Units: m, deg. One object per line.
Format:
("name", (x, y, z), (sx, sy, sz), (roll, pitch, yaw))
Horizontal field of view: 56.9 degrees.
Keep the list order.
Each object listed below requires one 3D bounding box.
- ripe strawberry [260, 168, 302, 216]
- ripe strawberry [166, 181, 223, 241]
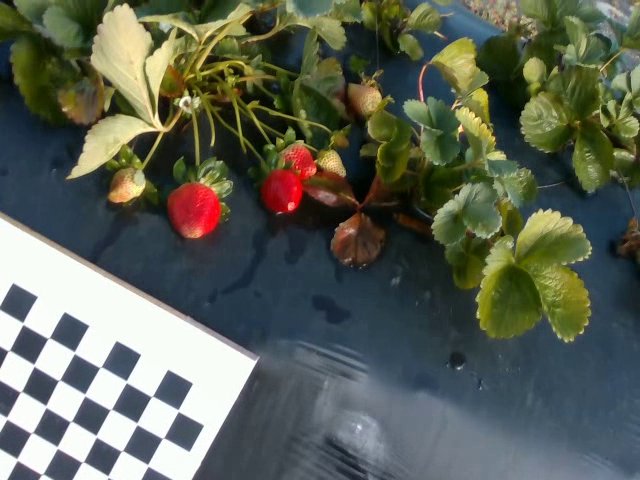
("ripe strawberry", (-0.035, -0.041, 0.546), (0.044, 0.042, 0.055), (-35, 38, 4))
("ripe strawberry", (-0.111, -0.024, 0.510), (0.050, 0.050, 0.065), (-11, 35, 5))
